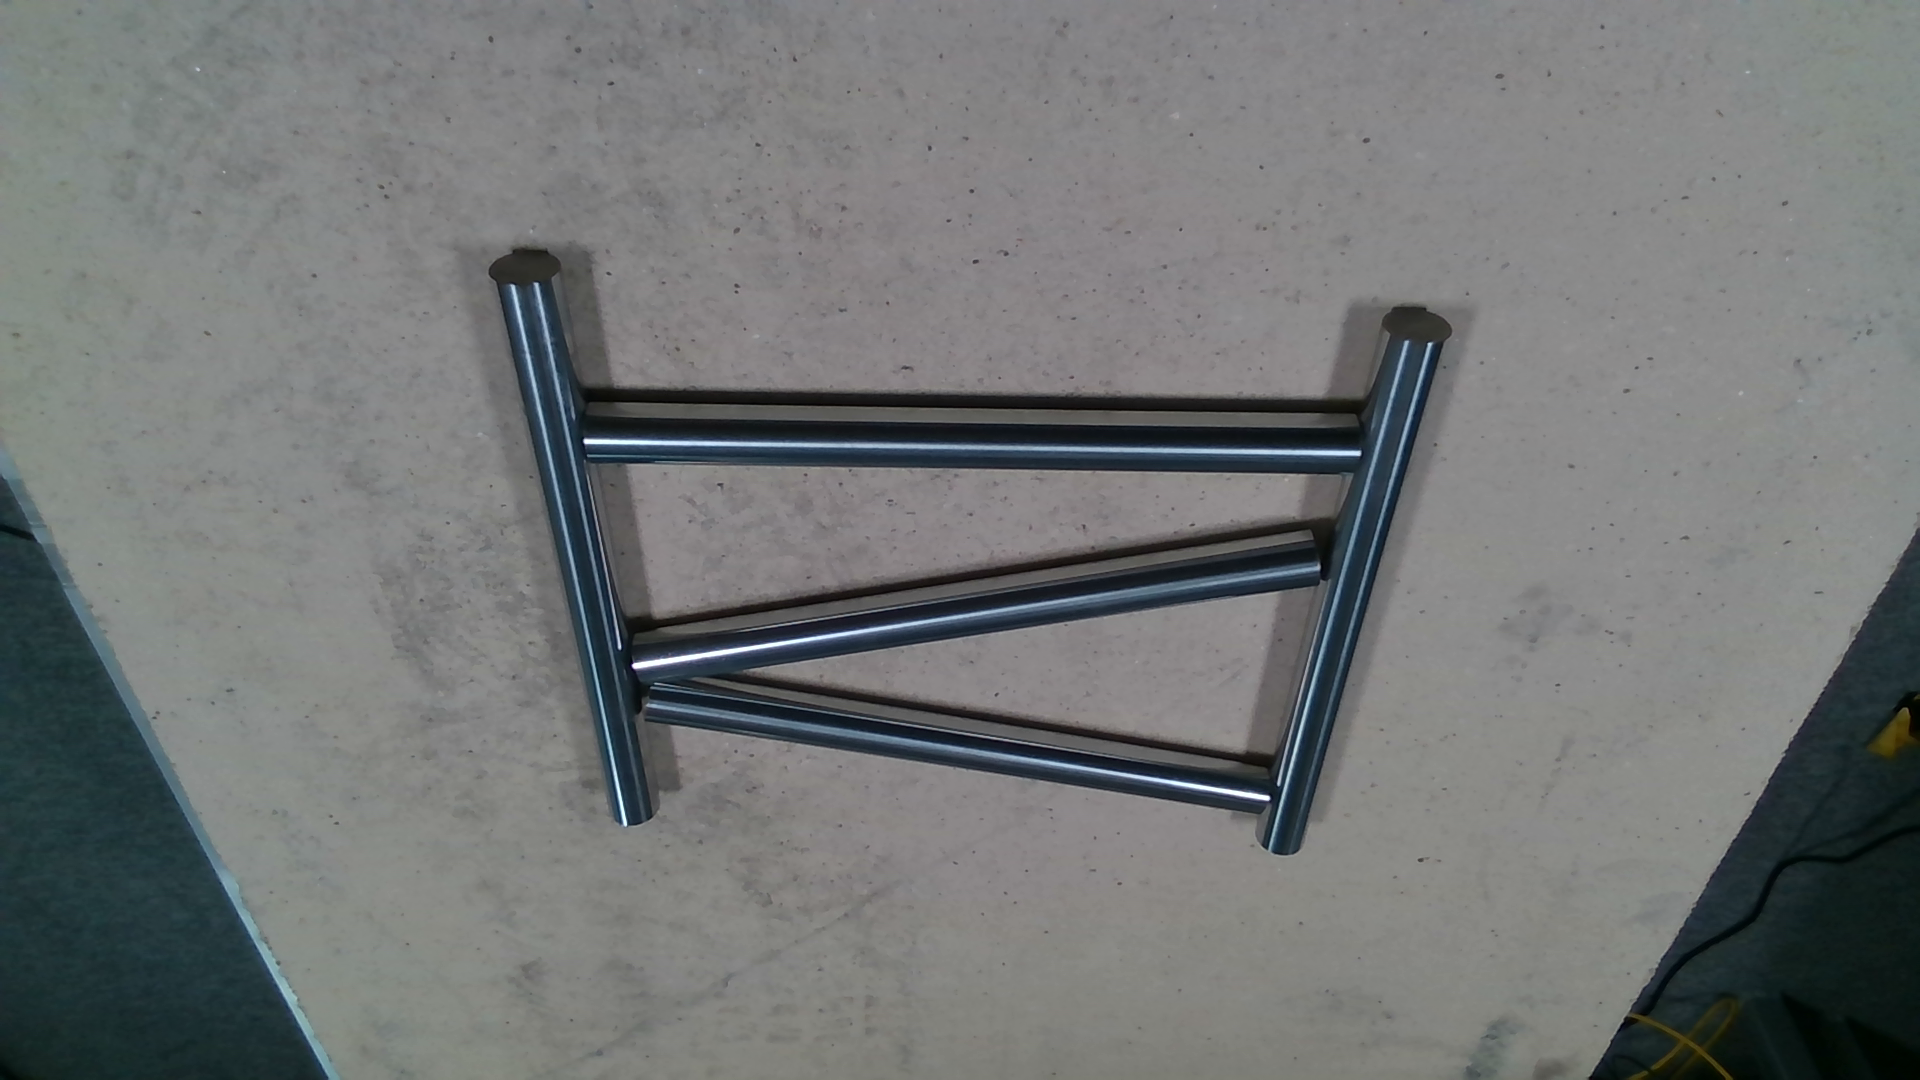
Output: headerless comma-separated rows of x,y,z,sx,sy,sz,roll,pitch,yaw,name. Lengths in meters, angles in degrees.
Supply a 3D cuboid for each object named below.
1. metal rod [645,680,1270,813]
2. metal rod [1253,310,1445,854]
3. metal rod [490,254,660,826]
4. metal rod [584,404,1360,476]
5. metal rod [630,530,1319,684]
0.002,0.097,0.660,0.300,0.025,0.025,10,129,-8,metal rod
0.165,0.036,0.609,0.025,0.025,0.301,1,130,-1,metal rod
-0.159,0.018,0.593,0.025,0.025,0.301,1,130,-1,metal rod
0.005,-0.040,0.545,0.300,0.025,0.025,1,130,-1,metal rod
0.003,0.030,0.604,0.300,0.025,0.025,-9,129,7,metal rod
